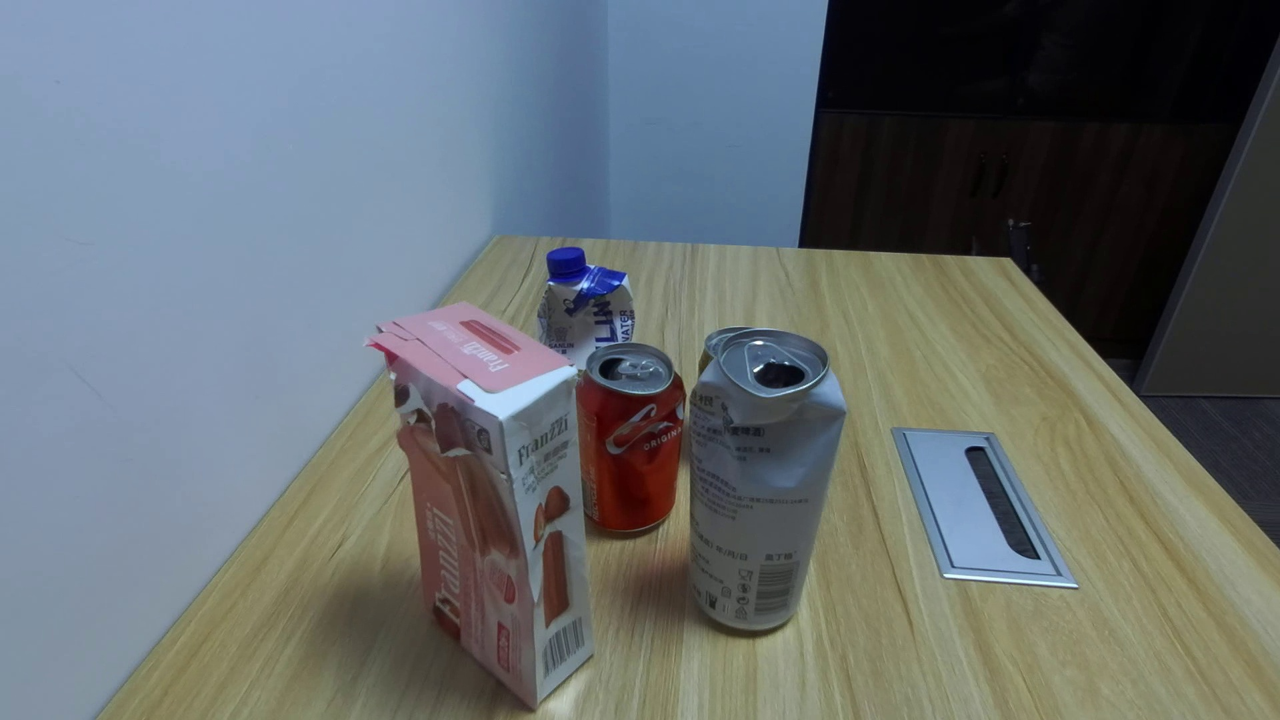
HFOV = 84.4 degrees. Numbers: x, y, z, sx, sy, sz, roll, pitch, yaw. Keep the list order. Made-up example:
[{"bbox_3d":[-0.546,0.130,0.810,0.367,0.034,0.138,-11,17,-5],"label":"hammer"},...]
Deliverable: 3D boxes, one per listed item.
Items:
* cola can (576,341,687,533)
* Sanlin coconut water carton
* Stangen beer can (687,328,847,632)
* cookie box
[{"bbox_3d":[-0.008,0.049,0.466,0.072,0.117,0.065,-18,34,-30],"label":"cola can"},{"bbox_3d":[-0.044,-0.014,0.548,0.068,0.145,0.057,15,39,11],"label":"Sanlin coconut water carton"},{"bbox_3d":[0.062,0.069,0.379,0.066,0.166,0.065,-13,33,-20],"label":"Stangen beer can"},{"bbox_3d":[-0.074,0.076,0.349,0.104,0.186,0.059,24,36,37],"label":"cookie box"}]
